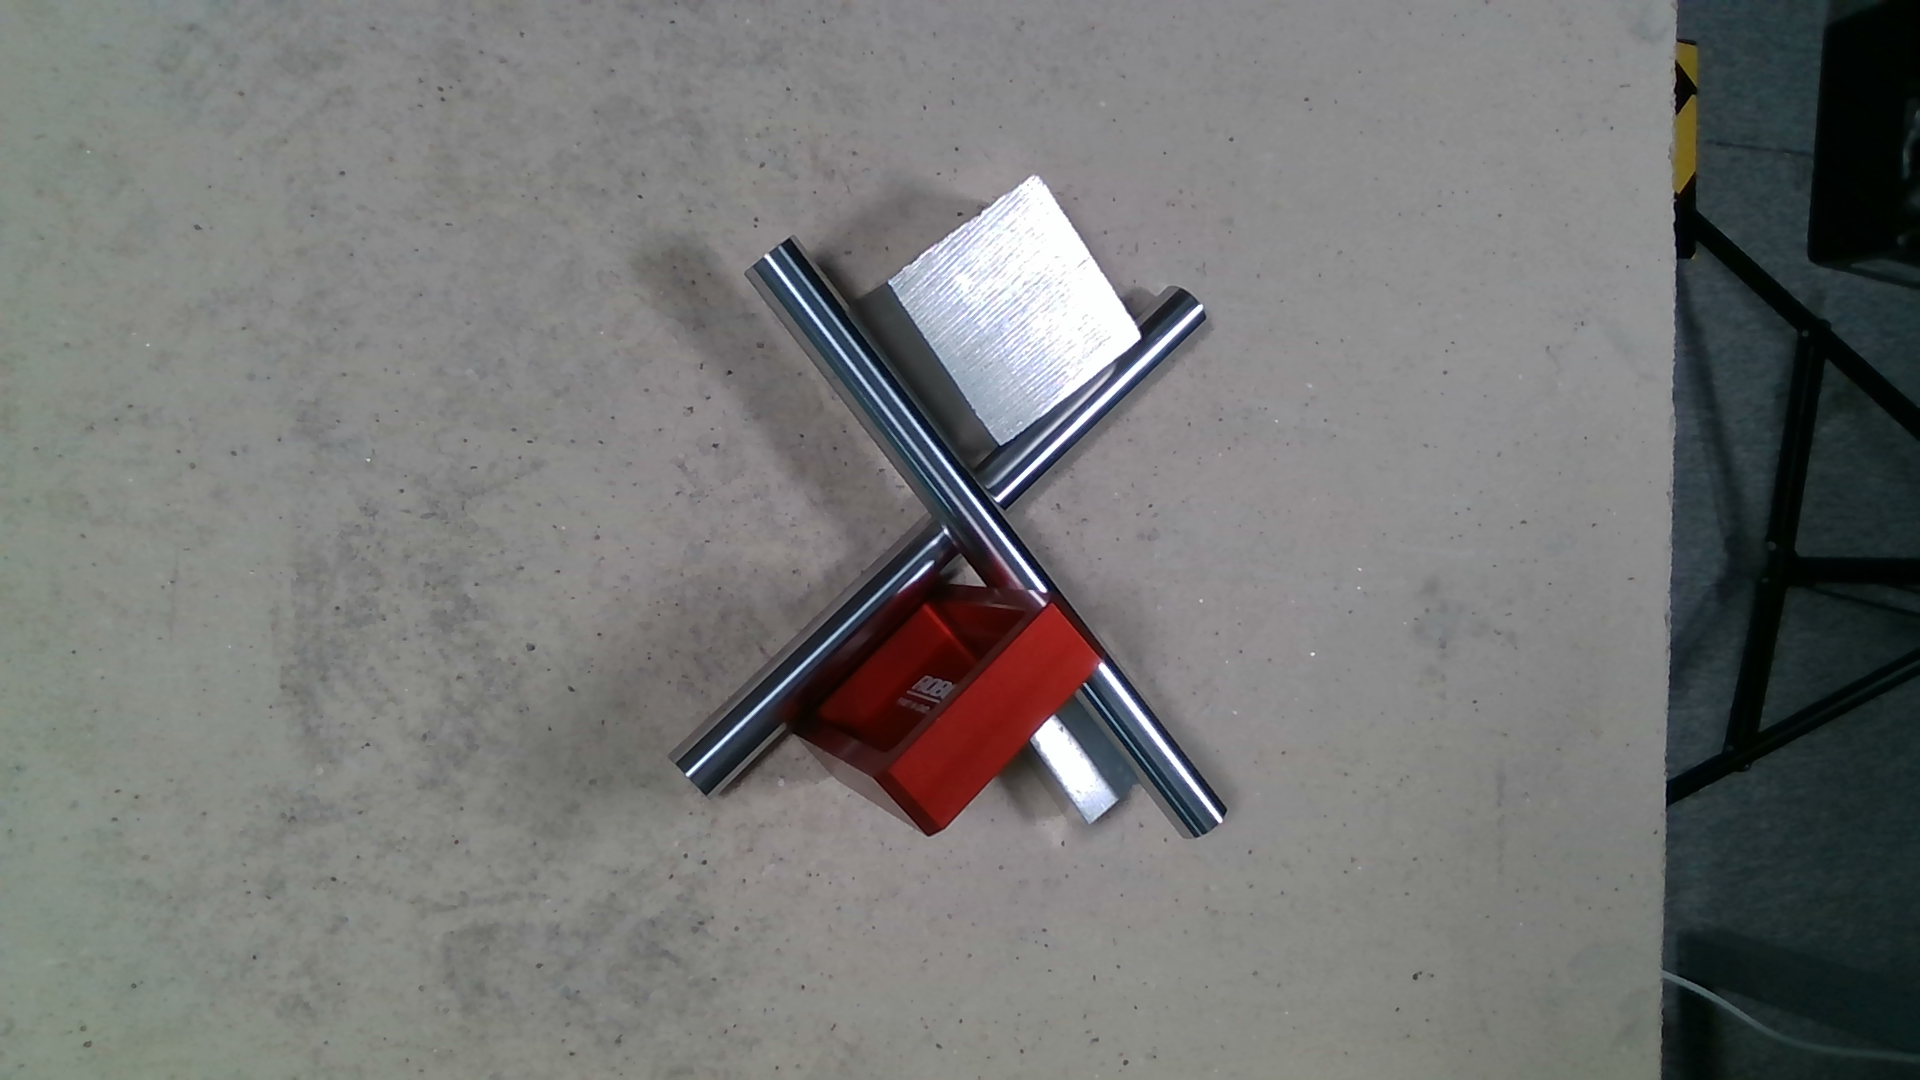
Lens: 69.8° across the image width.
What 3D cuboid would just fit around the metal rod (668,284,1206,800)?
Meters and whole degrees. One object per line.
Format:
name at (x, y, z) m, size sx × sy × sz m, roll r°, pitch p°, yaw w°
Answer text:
metal rod at (-0.003, -0.006, 0.585) m, size 0.300 × 0.025 × 0.025 m, roll -44°, pitch 104°, yaw -15°

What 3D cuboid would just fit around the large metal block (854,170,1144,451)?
large metal block at (0.015, -0.094, 0.577) m, size 0.080 × 0.050 × 0.080 m, roll -39°, pitch 103°, yaw -16°

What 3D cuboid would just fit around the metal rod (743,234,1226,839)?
metal rod at (0.016, 0.005, 0.565) m, size 0.025 × 0.025 × 0.300 m, roll -41°, pitch 103°, yaw -15°

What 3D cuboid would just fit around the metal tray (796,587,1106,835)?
metal tray at (-0.009, 0.059, 0.526) m, size 0.090 × 0.130 × 0.030 m, roll -44°, pitch 103°, yaw -15°

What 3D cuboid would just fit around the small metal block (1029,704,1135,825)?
small metal block at (0.057, 0.088, 0.607) m, size 0.050 × 0.025 × 0.050 m, roll -37°, pitch 102°, yaw -16°
